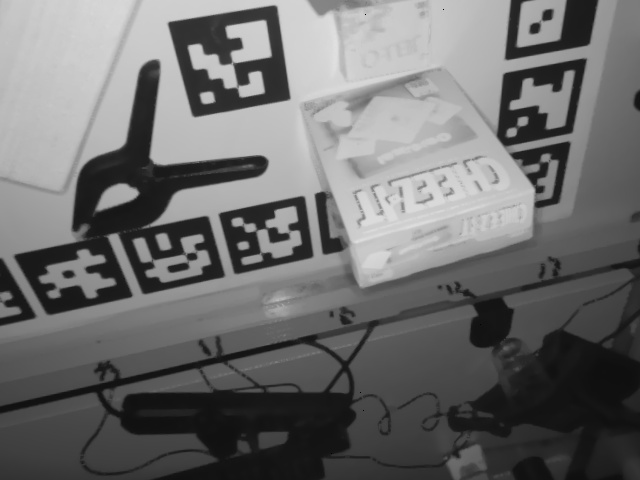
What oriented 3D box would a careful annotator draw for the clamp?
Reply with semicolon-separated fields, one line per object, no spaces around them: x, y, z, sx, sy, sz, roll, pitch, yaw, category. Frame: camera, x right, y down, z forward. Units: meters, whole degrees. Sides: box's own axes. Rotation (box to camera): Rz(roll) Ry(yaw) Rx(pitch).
-0.164;-0.074;0.687;0.201;0.037;0.166;-37;128;14;clamp

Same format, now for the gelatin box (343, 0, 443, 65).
0.069;-0.212;0.653;0.090;0.030;0.073;-14;129;-5;gelatin box

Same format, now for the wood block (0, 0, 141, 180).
-0.215;-0.164;0.569;0.091;0.091;0.203;15;125;-29;wood block

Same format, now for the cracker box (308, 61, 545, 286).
0.087;-0.072;0.640;0.164;0.214;0.071;-14;132;-2;cracker box
